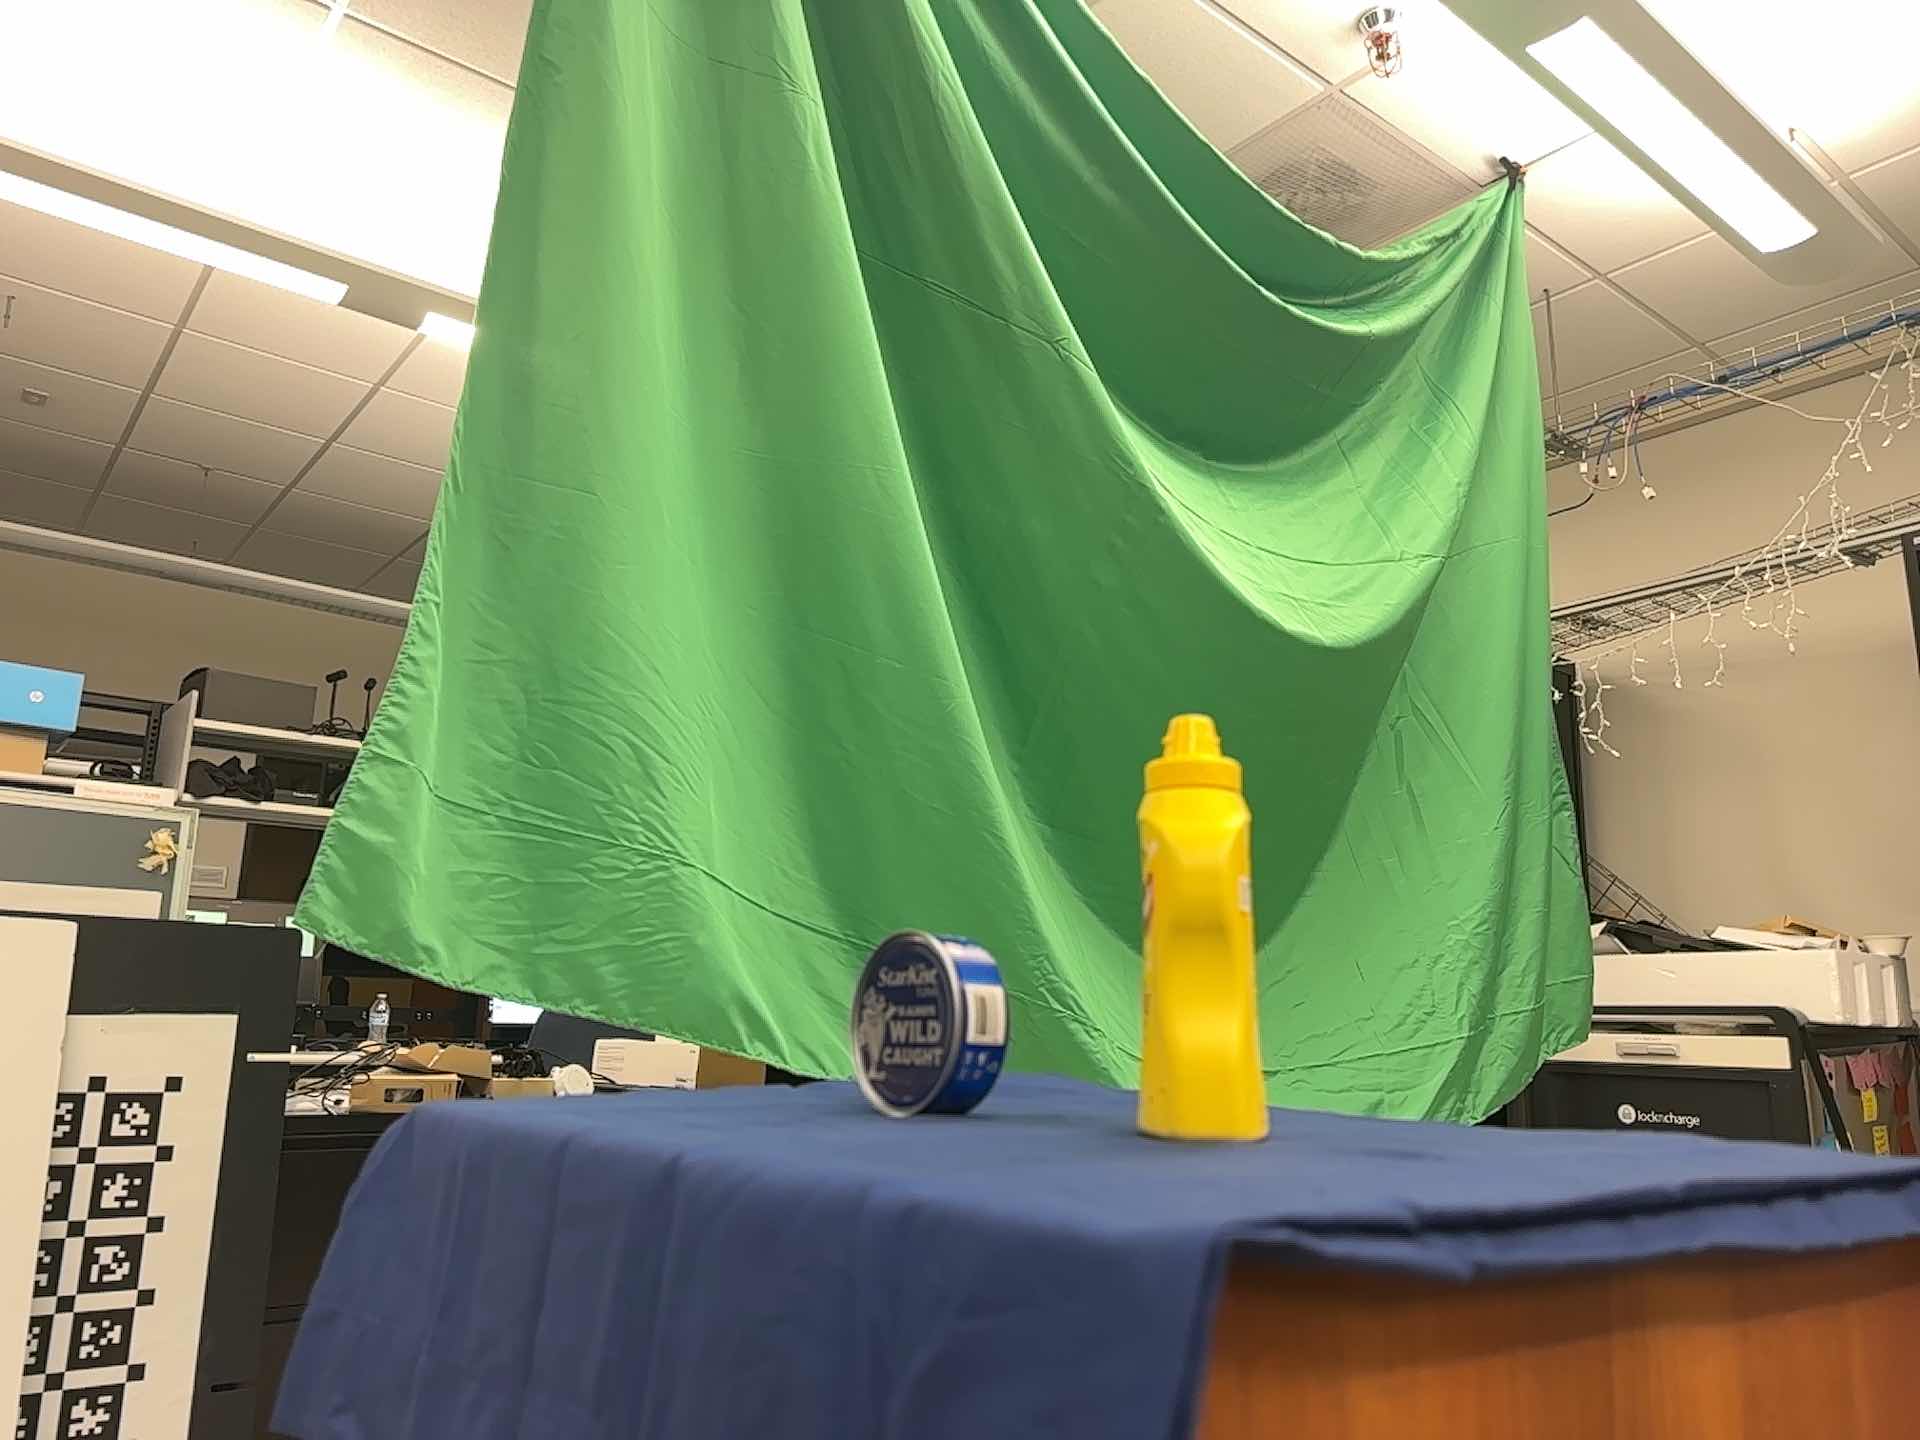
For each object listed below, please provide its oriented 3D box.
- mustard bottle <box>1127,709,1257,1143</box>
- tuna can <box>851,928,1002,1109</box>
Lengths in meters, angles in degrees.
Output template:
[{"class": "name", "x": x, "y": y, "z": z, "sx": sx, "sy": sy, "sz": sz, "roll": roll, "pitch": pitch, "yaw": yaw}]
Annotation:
[{"class": "mustard bottle", "x": 0.101, "y": 0.085, "z": 0.585, "sx": 0.054, "sy": 0.184, "sz": 0.092, "roll": 0, "pitch": -12, "yaw": 12}, {"class": "tuna can", "x": -0.017, "y": 0.144, "z": 0.650, "sx": 0.034, "sy": 0.083, "sz": 0.083, "roll": 11, "pitch": -15, "yaw": -34}]
